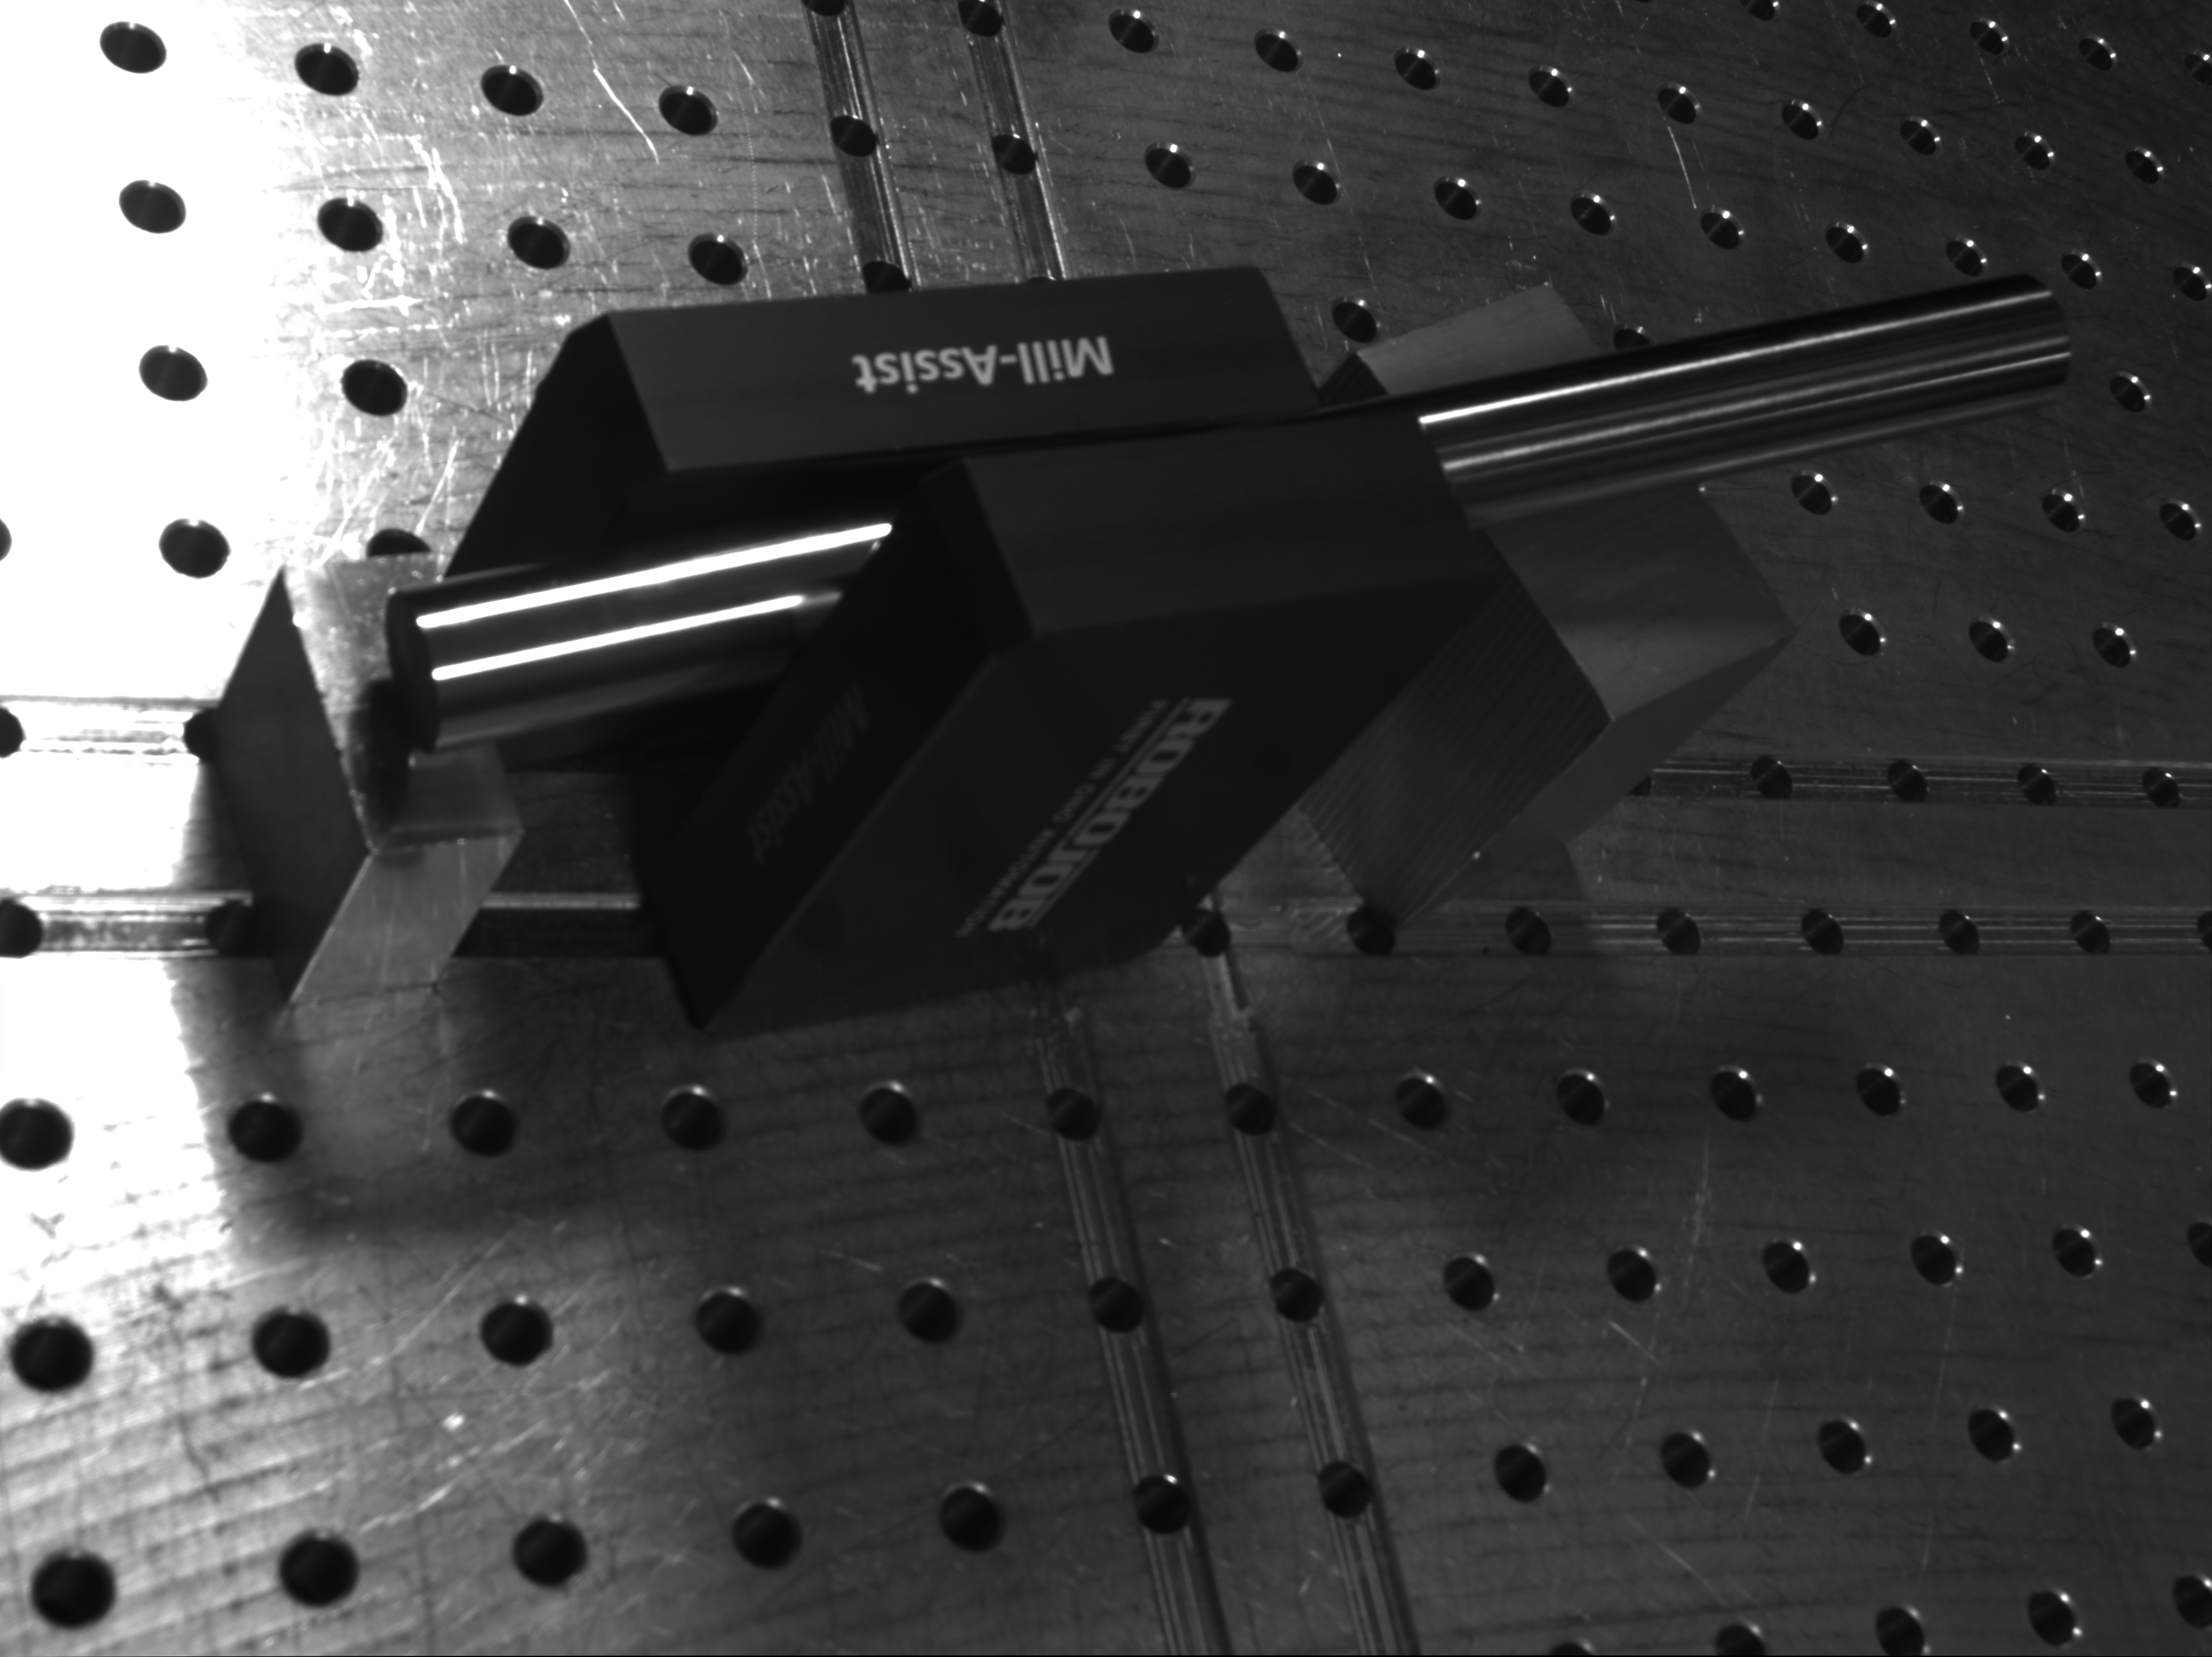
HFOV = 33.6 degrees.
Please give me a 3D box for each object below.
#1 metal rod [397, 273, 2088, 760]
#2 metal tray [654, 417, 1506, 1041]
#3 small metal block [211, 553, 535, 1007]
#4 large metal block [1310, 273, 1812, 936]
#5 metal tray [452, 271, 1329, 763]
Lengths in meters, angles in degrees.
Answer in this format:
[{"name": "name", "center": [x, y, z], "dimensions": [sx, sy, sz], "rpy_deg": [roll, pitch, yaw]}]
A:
[{"name": "metal rod", "center": [0.034, -0.055, 0.597], "dimensions": [0.301, 0.025, 0.025], "rpy_deg": [-14, 68, -23]}, {"name": "metal tray", "center": [-0.007, -0.014, 0.580], "dimensions": [0.090, 0.130, 0.030], "rpy_deg": [-10, 67, -32]}, {"name": "small metal block", "center": [-0.115, -0.007, 0.569], "dimensions": [0.025, 0.050, 0.050], "rpy_deg": [-8, 66, -32]}, {"name": "large metal block", "center": [0.067, -0.040, 0.667], "dimensions": [0.050, 0.080, 0.080], "rpy_deg": [-25, 75, -37]}, {"name": "metal tray", "center": [-0.037, -0.052, 0.612], "dimensions": [0.130, 0.090, 0.030], "rpy_deg": [-9, 67, -32]}]
